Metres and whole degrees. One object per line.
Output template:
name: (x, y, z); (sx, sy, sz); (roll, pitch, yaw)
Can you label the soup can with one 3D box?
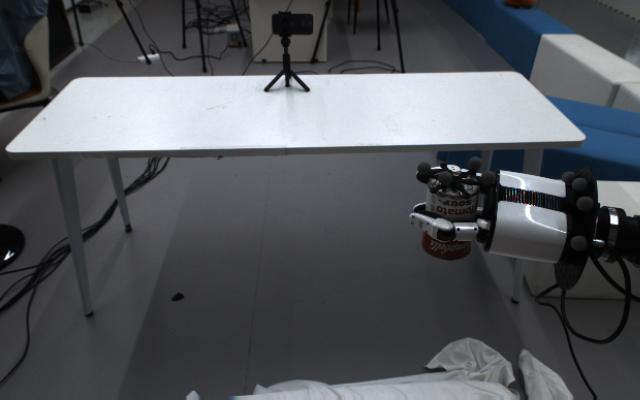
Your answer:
soup can: (0.177, 0.020, 0.654); (0.067, 0.101, 0.067); (-2, 32, 1)
